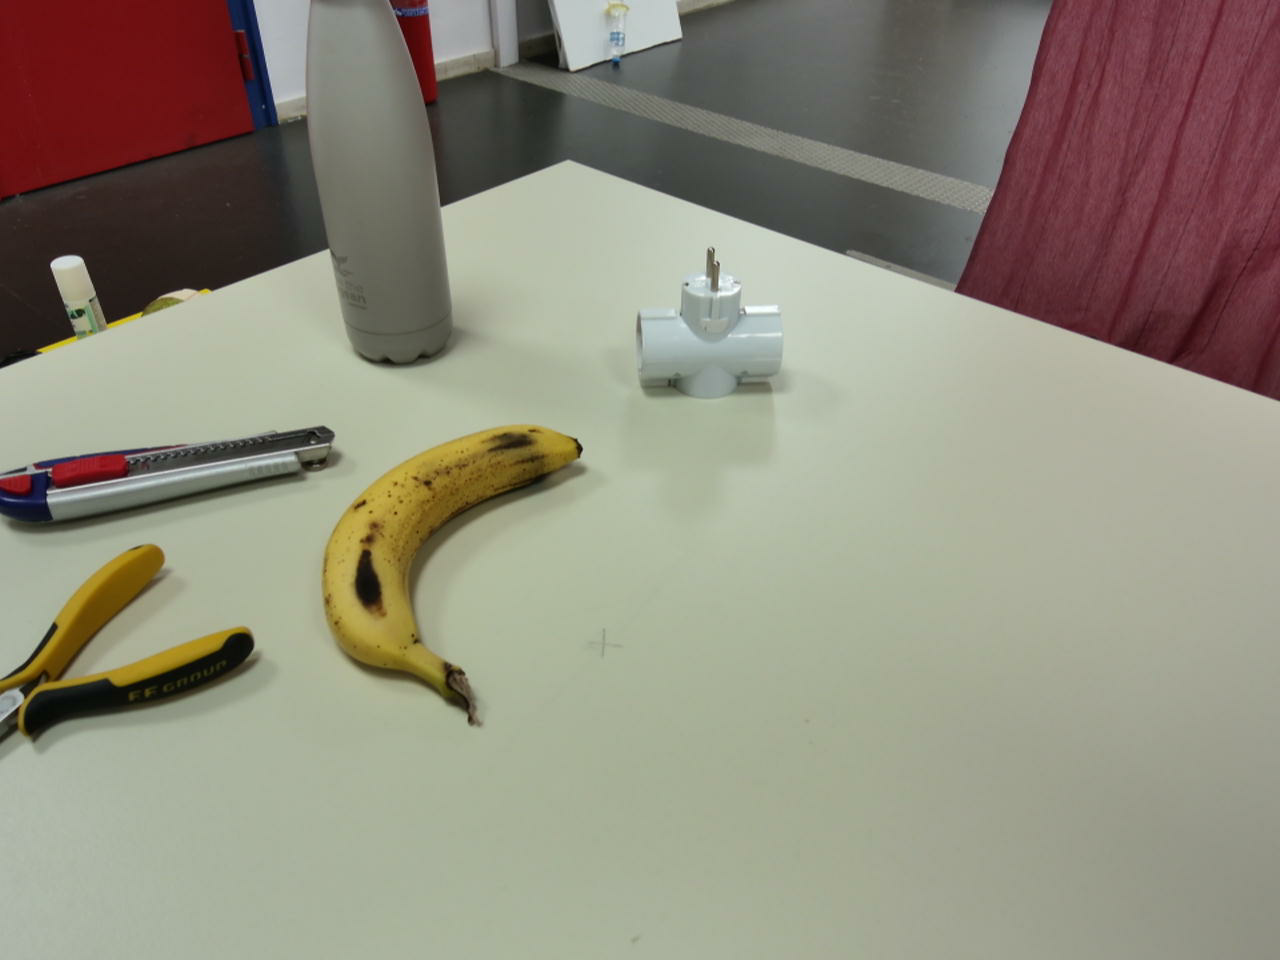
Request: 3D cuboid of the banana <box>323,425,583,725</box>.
[{"bbox_3d":[-0.097,0.026,0.499,0.097,0.038,0.186,9,37,9],"label":"banana"}]
